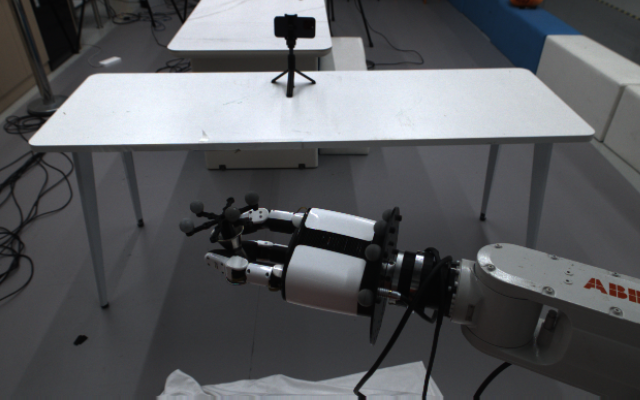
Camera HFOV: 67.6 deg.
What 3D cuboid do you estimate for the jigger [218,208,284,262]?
[{"bbox_3d":[-0.102,0.065,0.596,0.043,0.071,0.043,-10,32,6],"label":"jigger"}]
